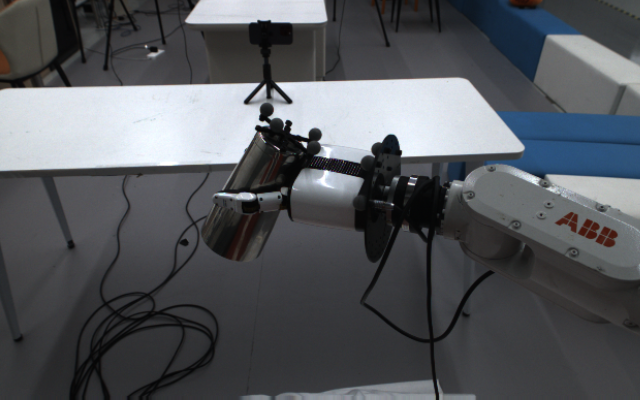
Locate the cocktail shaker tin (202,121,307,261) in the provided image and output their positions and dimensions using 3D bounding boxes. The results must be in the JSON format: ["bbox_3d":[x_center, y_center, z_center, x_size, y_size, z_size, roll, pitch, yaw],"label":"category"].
[{"bbox_3d":[-0.085,-0.014,0.649,0.093,0.170,0.093,25,29,-15],"label":"cocktail shaker tin"}]
